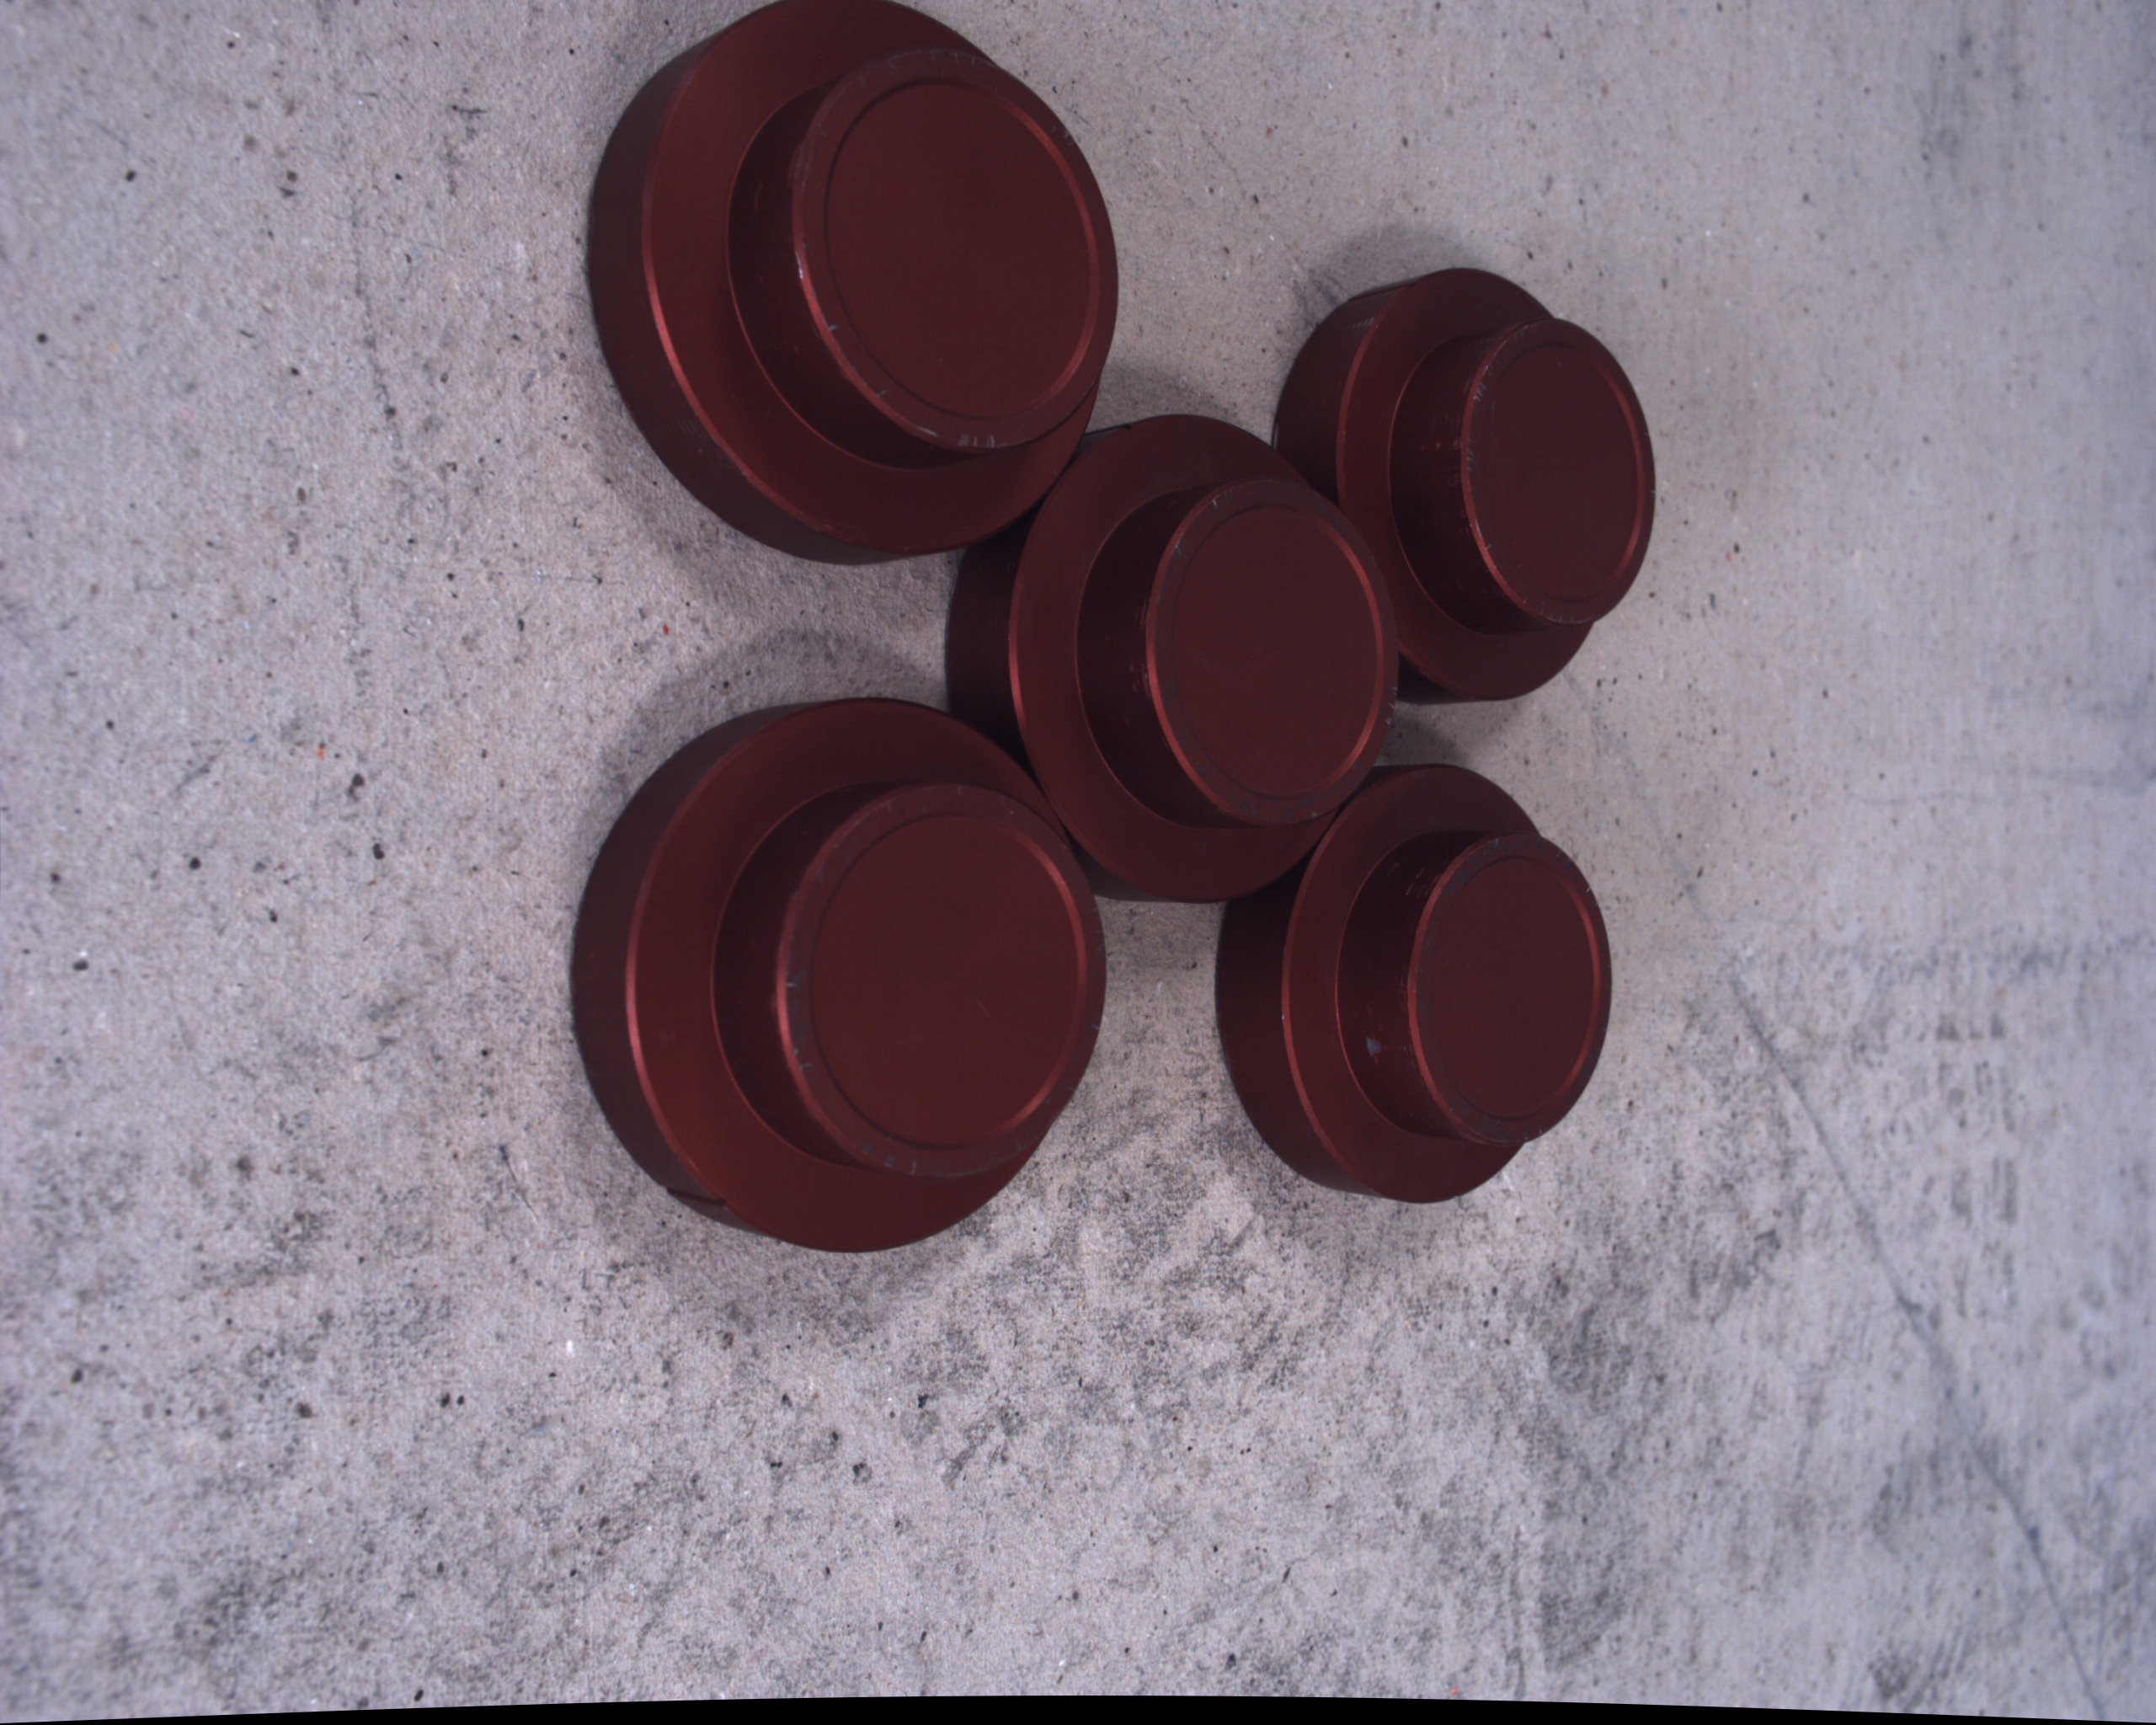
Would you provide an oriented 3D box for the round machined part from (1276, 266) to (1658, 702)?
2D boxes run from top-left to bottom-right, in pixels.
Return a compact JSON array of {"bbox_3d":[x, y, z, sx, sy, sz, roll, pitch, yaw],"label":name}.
[{"bbox_3d":[0.094,-0.086,0.472,0.099,0.042,0.097,-2,93,-39],"label":"round machined part"}]

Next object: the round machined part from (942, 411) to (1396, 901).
[{"bbox_3d":[0.025,-0.041,0.416,0.099,0.042,0.097,-2,93,-39],"label":"round machined part"}]

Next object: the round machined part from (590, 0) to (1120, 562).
[{"bbox_3d":[-0.032,-0.103,0.368,0.099,0.042,0.097,0,90,-40],"label":"round machined part"}]

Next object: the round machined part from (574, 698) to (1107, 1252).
[{"bbox_3d":[-0.034,0.020,0.366,0.099,0.042,0.097,-1,92,-40],"label":"round machined part"}]

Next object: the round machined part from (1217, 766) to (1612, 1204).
[{"bbox_3d":[0.081,0.027,0.463,0.099,0.042,0.097,-2,93,-39],"label":"round machined part"}]
